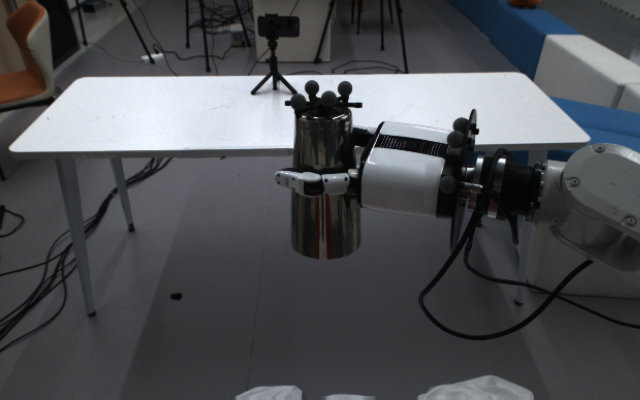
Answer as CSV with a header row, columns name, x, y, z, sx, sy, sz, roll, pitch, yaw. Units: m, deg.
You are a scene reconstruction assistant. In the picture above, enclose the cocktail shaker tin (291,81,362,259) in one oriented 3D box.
name,x,y,z,sx,sy,sz,roll,pitch,yaw
cocktail shaker tin,0.008,-0.025,0.589,0.093,0.170,0.093,-1,26,1
